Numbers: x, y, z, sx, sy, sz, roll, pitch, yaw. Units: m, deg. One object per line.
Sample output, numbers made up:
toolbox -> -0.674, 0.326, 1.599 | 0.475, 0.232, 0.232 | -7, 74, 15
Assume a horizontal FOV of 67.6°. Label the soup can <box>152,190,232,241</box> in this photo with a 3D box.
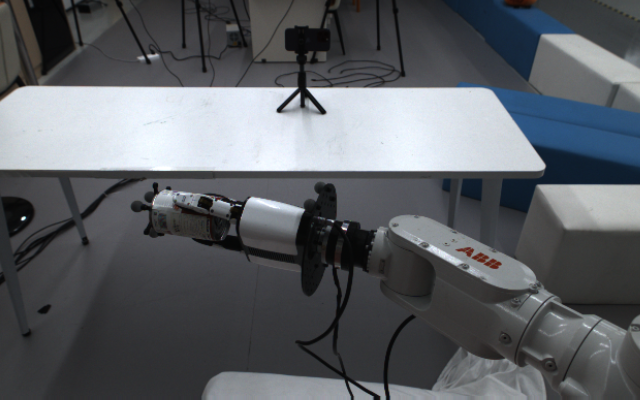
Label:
soup can -> -0.190, 0.023, 0.720 | 0.101, 0.067, 0.067 | 7, 35, 10
